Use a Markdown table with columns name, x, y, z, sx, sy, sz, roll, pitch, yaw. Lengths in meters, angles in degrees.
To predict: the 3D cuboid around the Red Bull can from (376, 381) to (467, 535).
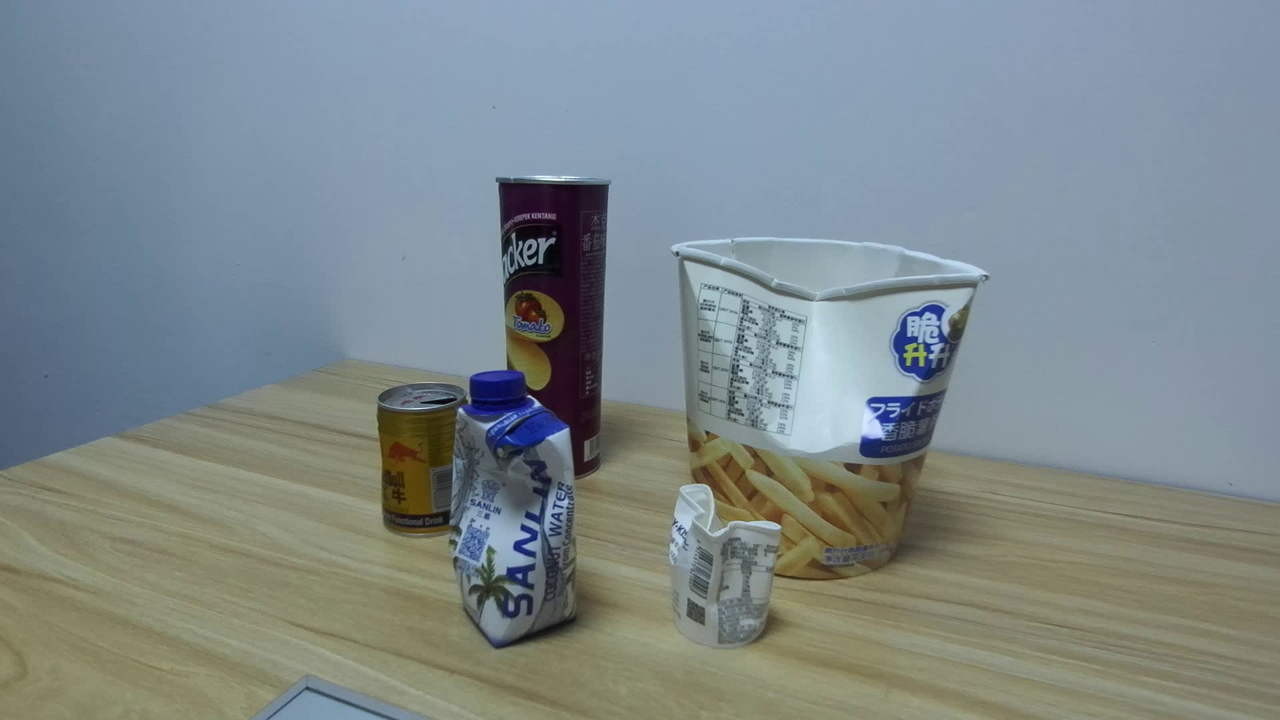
| name | x | y | z | sx | sy | sz | roll | pitch | yaw |
| --- | --- | --- | --- | --- | --- | --- | --- | --- | --- |
| Red Bull can | -0.150 | 0.069 | 0.497 | 0.068 | 0.093 | 0.068 | 1 | 16 | 0 |

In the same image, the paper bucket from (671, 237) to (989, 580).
| name | x | y | z | sx | sy | sz | roll | pitch | yaw |
| --- | --- | --- | --- | --- | --- | --- | --- | --- | --- |
| paper bucket | 0.102 | 0.022 | 0.479 | 0.163 | 0.202 | 0.168 | -3 | 15 | -10 |

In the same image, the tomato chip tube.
| name | x | y | z | sx | sy | sz | roll | pitch | yaw |
| --- | --- | --- | --- | --- | --- | --- | --- | --- | --- |
| tomato chip tube | -0.068 | -0.024 | 0.568 | 0.077 | 0.234 | 0.080 | -8 | 18 | -30 |

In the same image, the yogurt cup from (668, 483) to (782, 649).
| name | x | y | z | sx | sy | sz | roll | pitch | yaw |
| --- | --- | --- | --- | --- | --- | --- | --- | --- | --- |
| yogurt cup | 0.045 | 0.113 | 0.390 | 0.055 | 0.072 | 0.054 | -4 | 19 | -8 |

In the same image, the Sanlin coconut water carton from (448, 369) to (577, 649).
| name | x | y | z | sx | sy | sz | roll | pitch | yaw |
| --- | --- | --- | --- | --- | --- | --- | --- | --- | --- |
| Sanlin coconut water carton | -0.069 | 0.080 | 0.374 | 0.057 | 0.145 | 0.068 | -16 | 30 | -31 |
